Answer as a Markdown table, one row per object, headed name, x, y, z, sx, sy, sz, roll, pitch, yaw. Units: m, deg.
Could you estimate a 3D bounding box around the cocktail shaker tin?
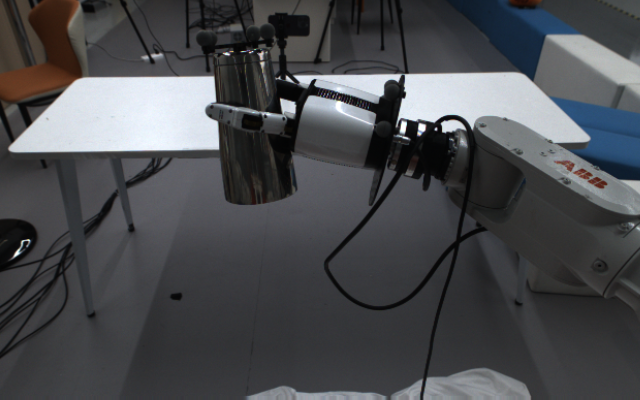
| name | x | y | z | sx | sy | sz | roll | pitch | yaw |
| --- | --- | --- | --- | --- | --- | --- | --- | --- | --- |
| cocktail shaker tin | -0.082 | -0.089 | 0.581 | 0.093 | 0.170 | 0.093 | -6 | 20 | 2 |
